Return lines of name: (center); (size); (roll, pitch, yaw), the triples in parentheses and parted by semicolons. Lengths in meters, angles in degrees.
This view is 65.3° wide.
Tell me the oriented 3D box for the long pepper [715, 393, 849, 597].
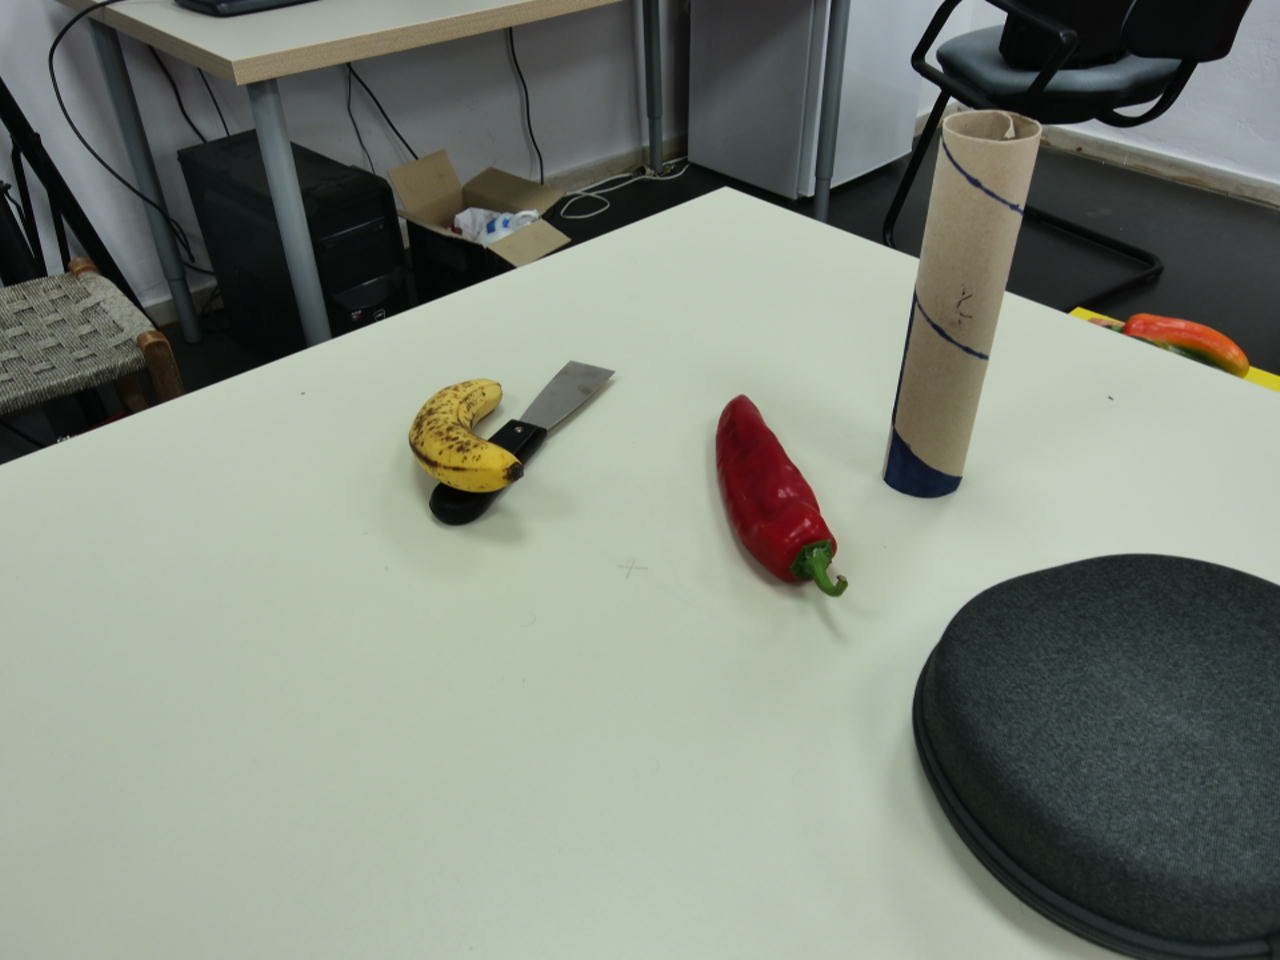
long pepper: (0.077, 0.005, 0.603); (0.050, 0.043, 0.211); (-6, 37, -7)
